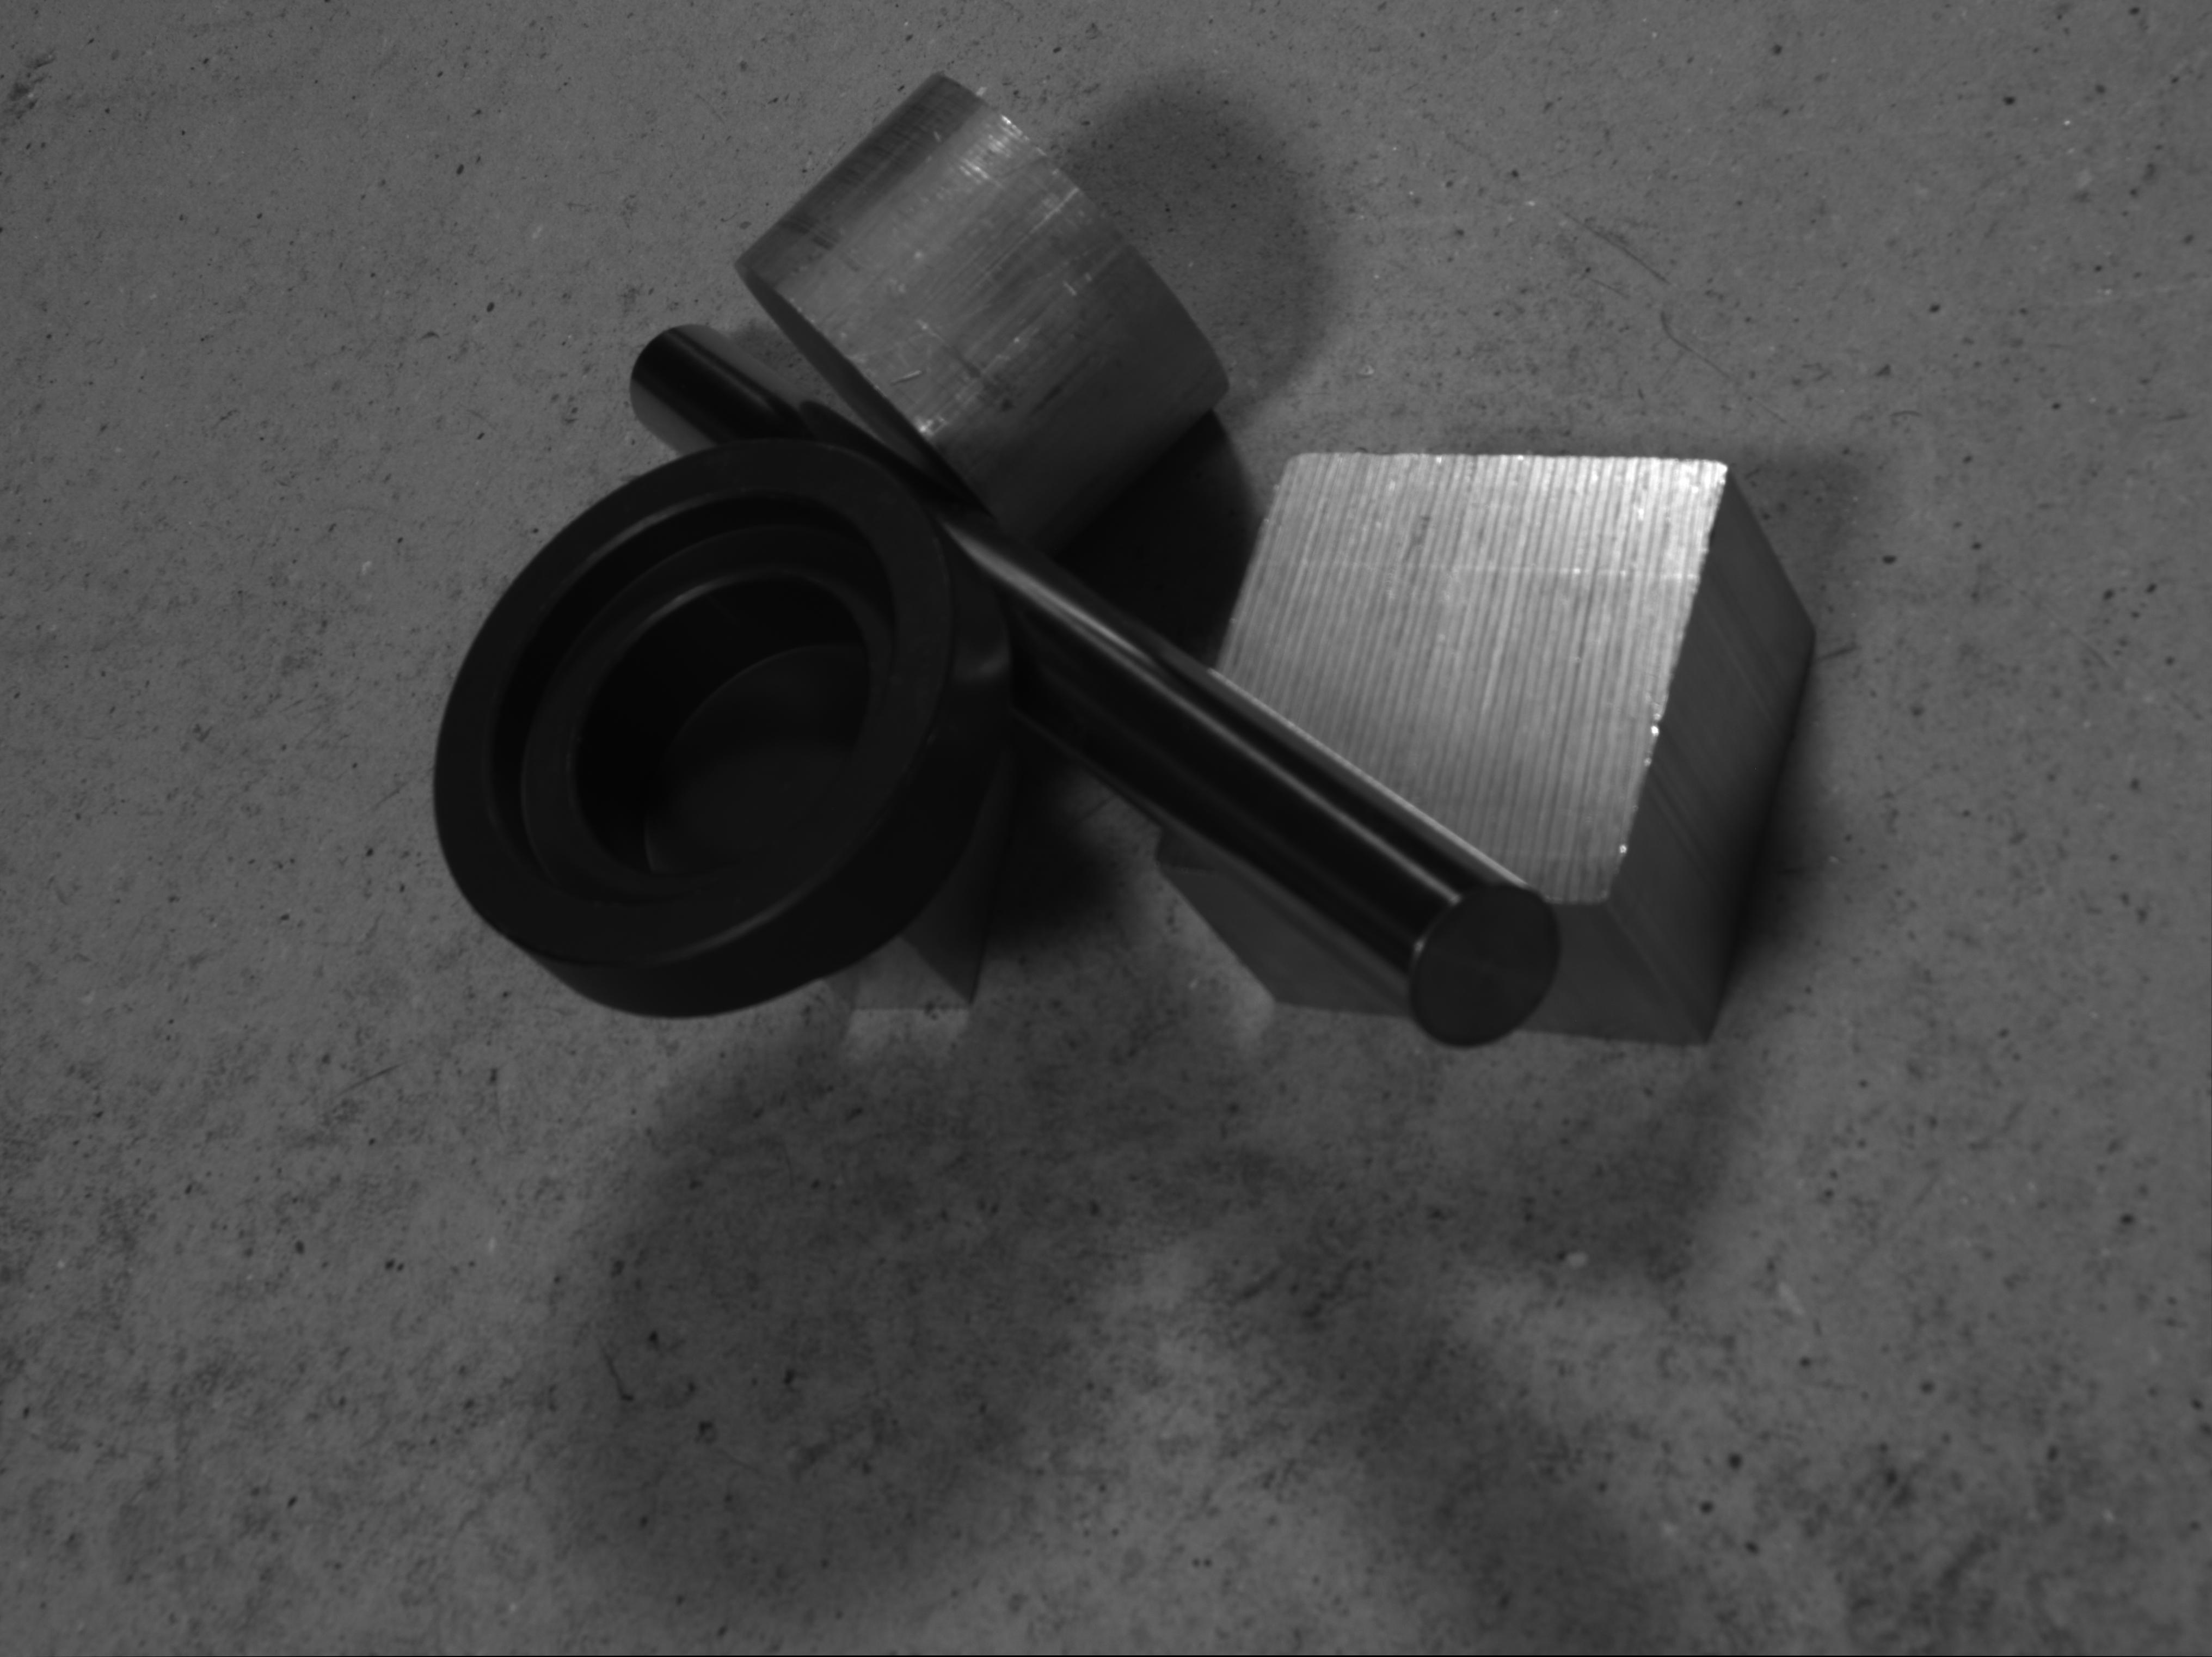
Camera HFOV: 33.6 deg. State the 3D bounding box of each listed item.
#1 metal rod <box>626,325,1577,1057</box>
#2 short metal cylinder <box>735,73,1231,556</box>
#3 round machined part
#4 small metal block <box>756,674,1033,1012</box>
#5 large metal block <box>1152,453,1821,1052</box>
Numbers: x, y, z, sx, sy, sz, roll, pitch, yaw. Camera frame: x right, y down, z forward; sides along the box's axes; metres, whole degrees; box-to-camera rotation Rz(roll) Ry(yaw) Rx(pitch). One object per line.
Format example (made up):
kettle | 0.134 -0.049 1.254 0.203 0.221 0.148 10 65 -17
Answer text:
metal rod | -0.016 -0.035 0.626 0.025 0.025 0.299 -46 37 -4
short metal cylinder | -0.023 -0.093 0.678 0.050 0.080 0.080 -44 51 -2
round machined part | -0.059 -0.012 0.609 0.098 0.042 0.098 -13 57 21
small metal block | -0.040 -0.001 0.651 0.025 0.050 0.050 -2 61 27
large metal block | 0.064 -0.014 0.603 0.080 0.050 0.080 4 64 30
